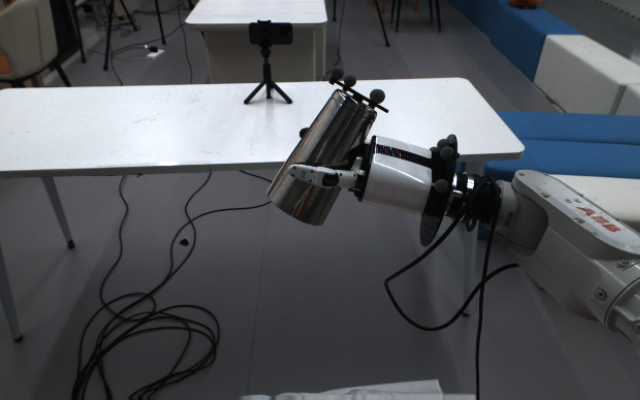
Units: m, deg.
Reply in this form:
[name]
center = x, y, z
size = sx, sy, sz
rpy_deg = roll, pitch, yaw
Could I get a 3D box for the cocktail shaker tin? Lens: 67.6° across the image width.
[cocktail shaker tin]
center = 0.007, -0.063, 0.662
size = 0.093, 0.170, 0.093
rpy_deg = 28, 14, -7
